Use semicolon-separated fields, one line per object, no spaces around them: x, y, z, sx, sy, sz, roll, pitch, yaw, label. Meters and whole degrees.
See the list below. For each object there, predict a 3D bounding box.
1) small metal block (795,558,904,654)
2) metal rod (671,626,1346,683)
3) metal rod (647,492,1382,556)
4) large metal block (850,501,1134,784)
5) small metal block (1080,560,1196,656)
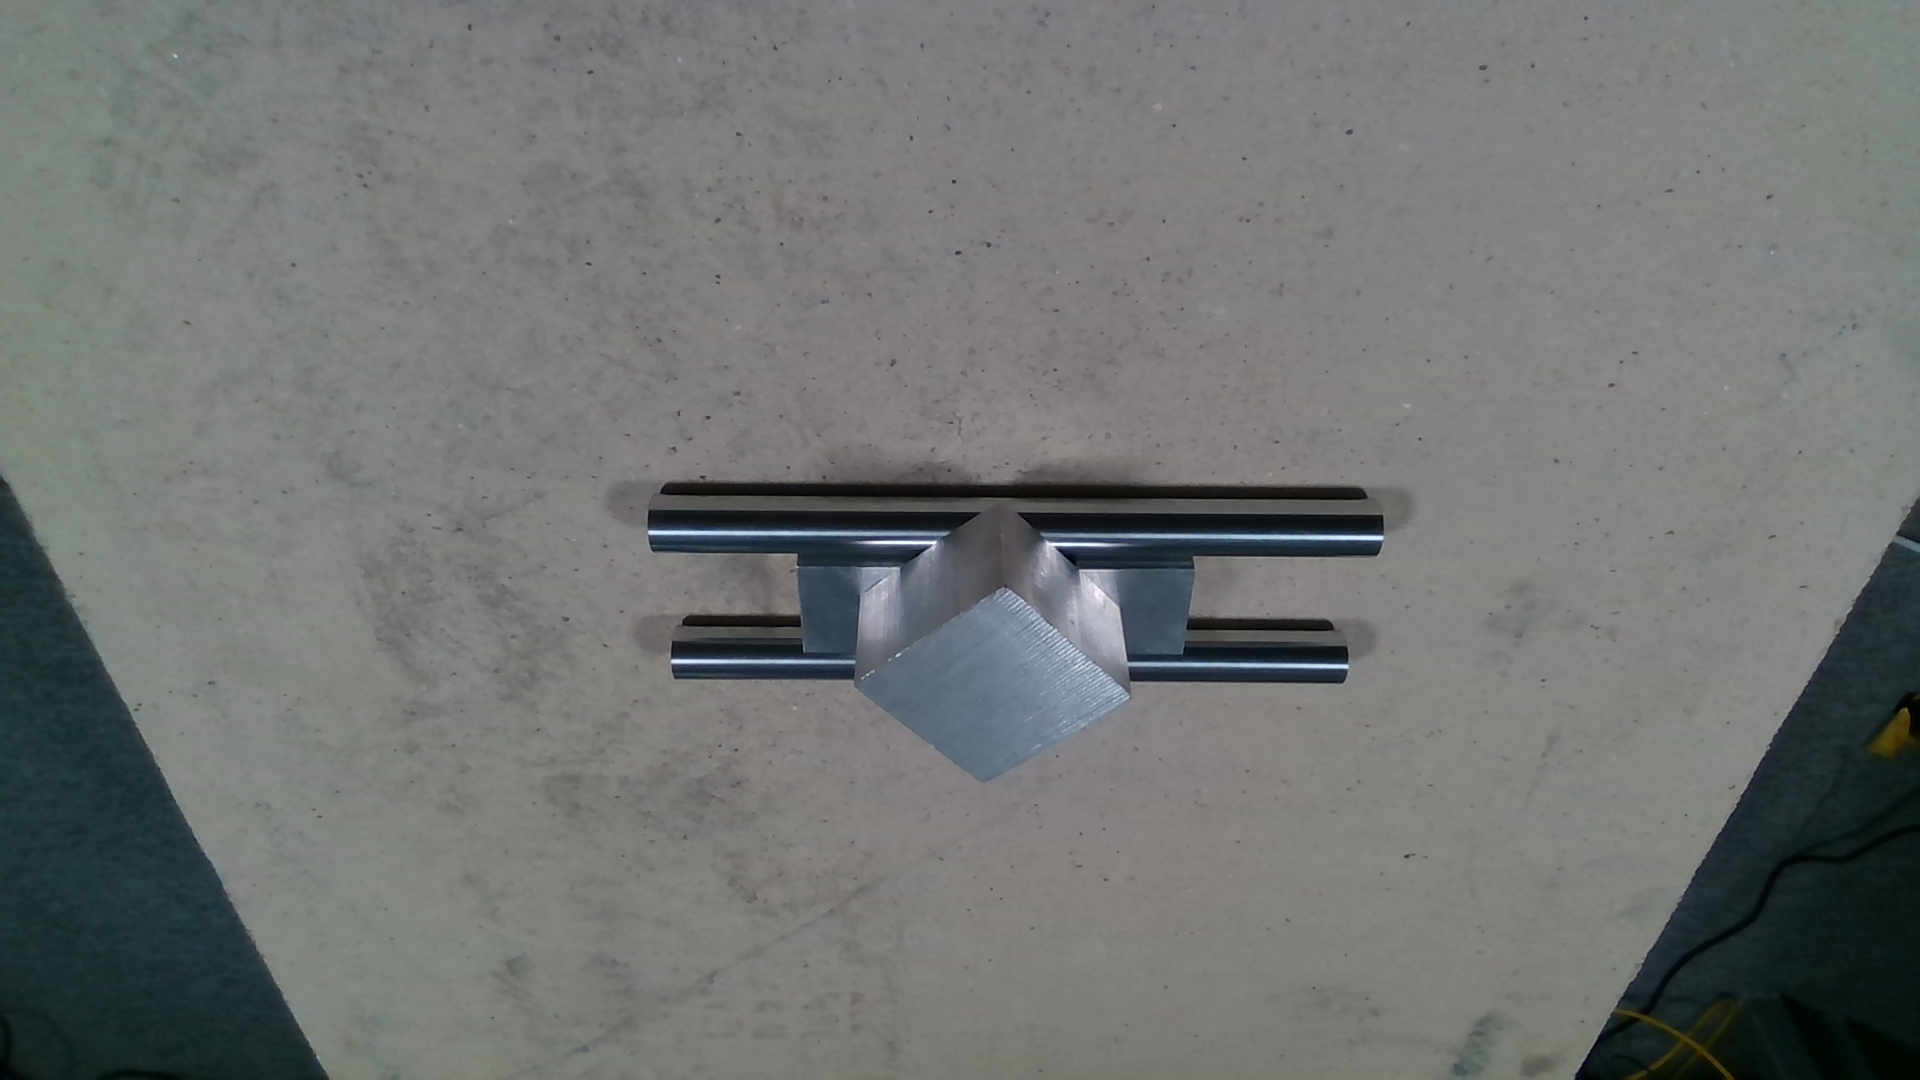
-0.044;0.023;0.597;0.050;0.025;0.050;1;130;0;small metal block
0.022;0.052;0.623;0.300;0.025;0.025;0;130;0;metal rod
0.022;-0.007;0.574;0.300;0.025;0.025;0;130;0;metal rod
0.013;0.044;0.565;0.080;0.050;0.080;-34;122;25;large metal block
0.073;0.024;0.598;0.050;0.025;0.050;1;130;0;small metal block
